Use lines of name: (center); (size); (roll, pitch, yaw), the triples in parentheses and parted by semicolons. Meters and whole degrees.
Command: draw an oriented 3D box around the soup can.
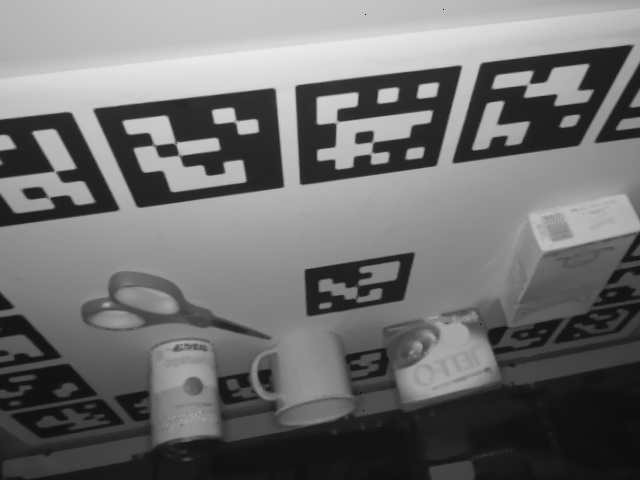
soup can: (-0.128, 0.149, 0.683); (0.068, 0.102, 0.067); (-9, 145, -5)

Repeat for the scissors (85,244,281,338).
scissors: (-0.112, 0.062, 0.630); (0.087, 0.016, 0.205); (-43, 134, 21)

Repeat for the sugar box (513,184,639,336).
sugar box: (0.248, 0.026, 0.671); (0.093, 0.045, 0.175); (-11, 142, -4)

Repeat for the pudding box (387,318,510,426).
pudding box: (0.136, 0.141, 0.741); (0.114, 0.090, 0.038); (-13, 137, 2)

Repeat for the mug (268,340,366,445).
mug: (-0.013, 0.155, 0.729); (0.092, 0.082, 0.118); (-32, 140, 21)
